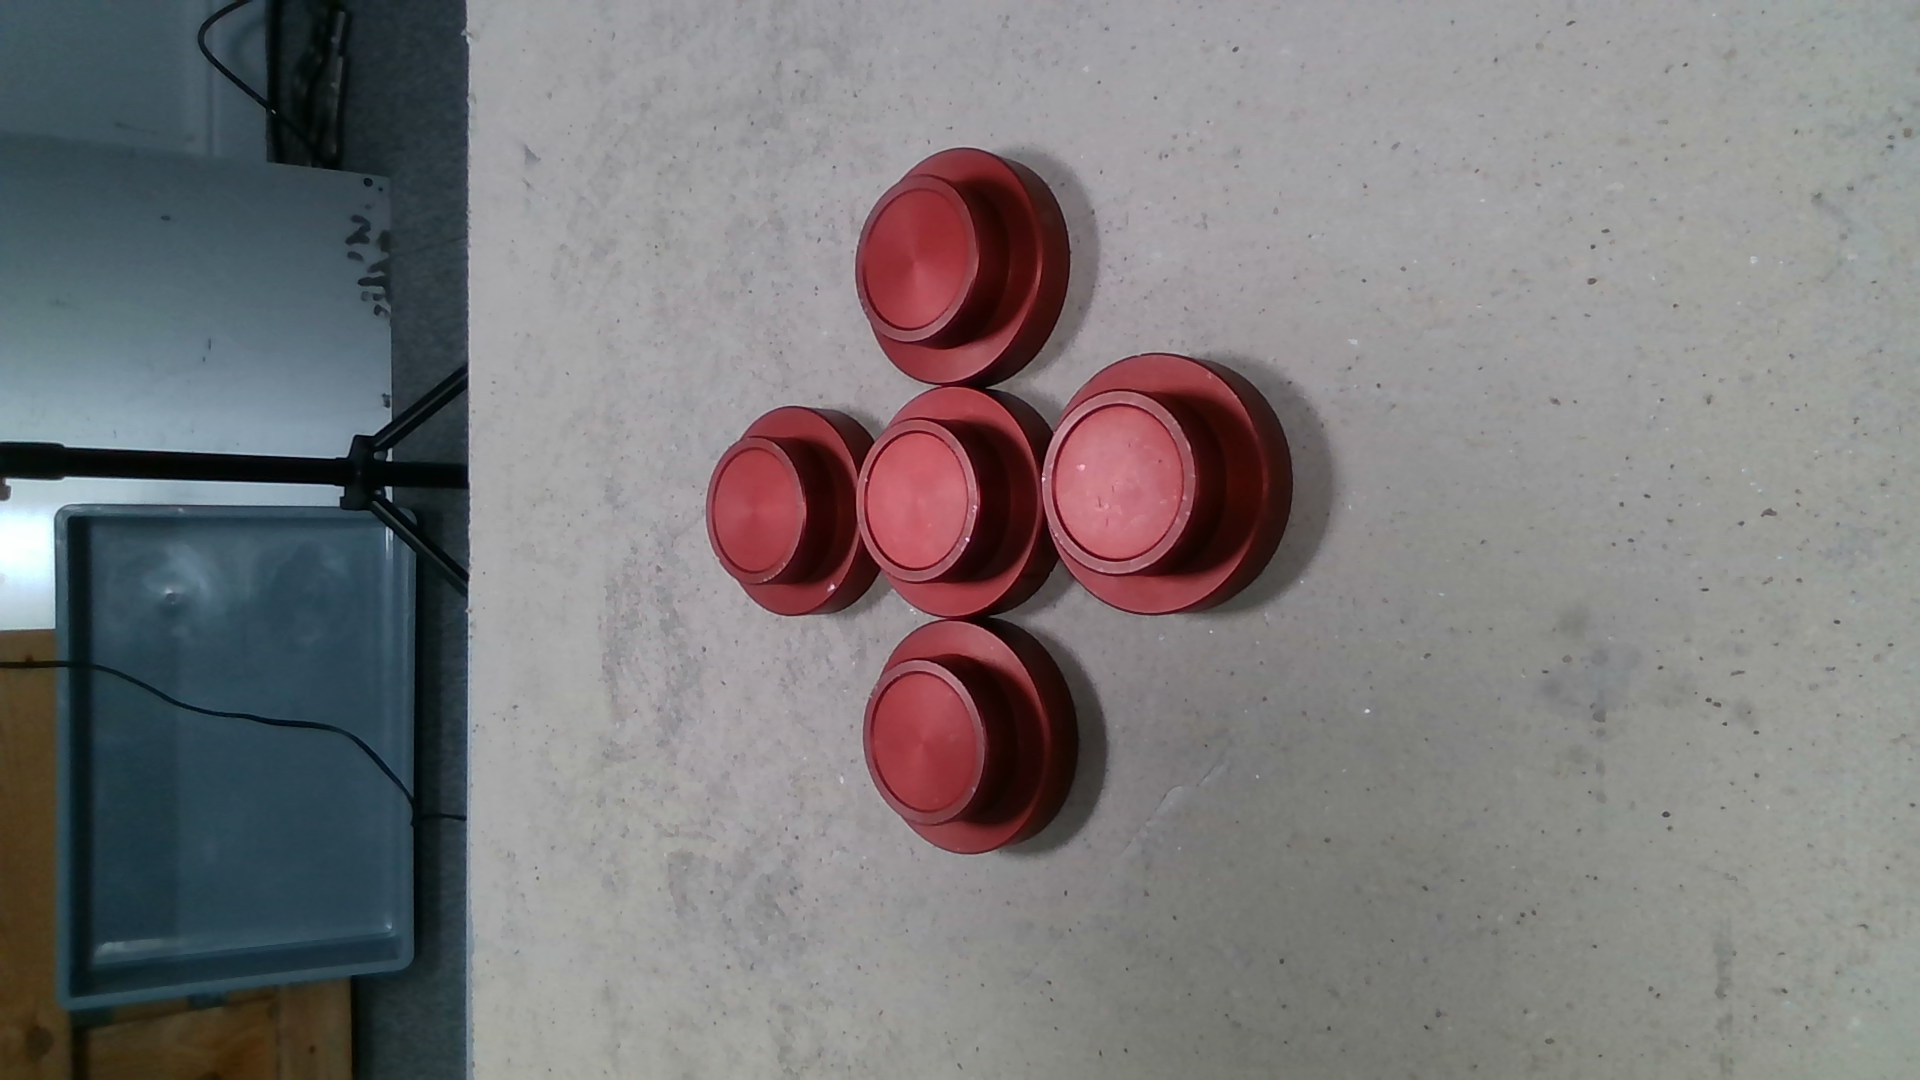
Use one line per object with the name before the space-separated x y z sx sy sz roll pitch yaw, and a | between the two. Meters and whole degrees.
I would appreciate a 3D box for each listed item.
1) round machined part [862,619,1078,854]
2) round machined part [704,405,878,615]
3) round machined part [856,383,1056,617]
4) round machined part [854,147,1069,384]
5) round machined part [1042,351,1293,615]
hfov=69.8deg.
round machined part | -0.003 0.082 0.574 0.098 0.042 0.098 0 91 40
round machined part | -0.081 -0.014 0.639 0.098 0.042 0.098 0 91 40
round machined part | -0.005 -0.017 0.576 0.098 0.042 0.098 0 91 40
round machined part | -0.006 -0.114 0.575 0.098 0.042 0.098 0 91 40
round machined part | 0.070 -0.021 0.512 0.098 0.042 0.098 0 91 40
